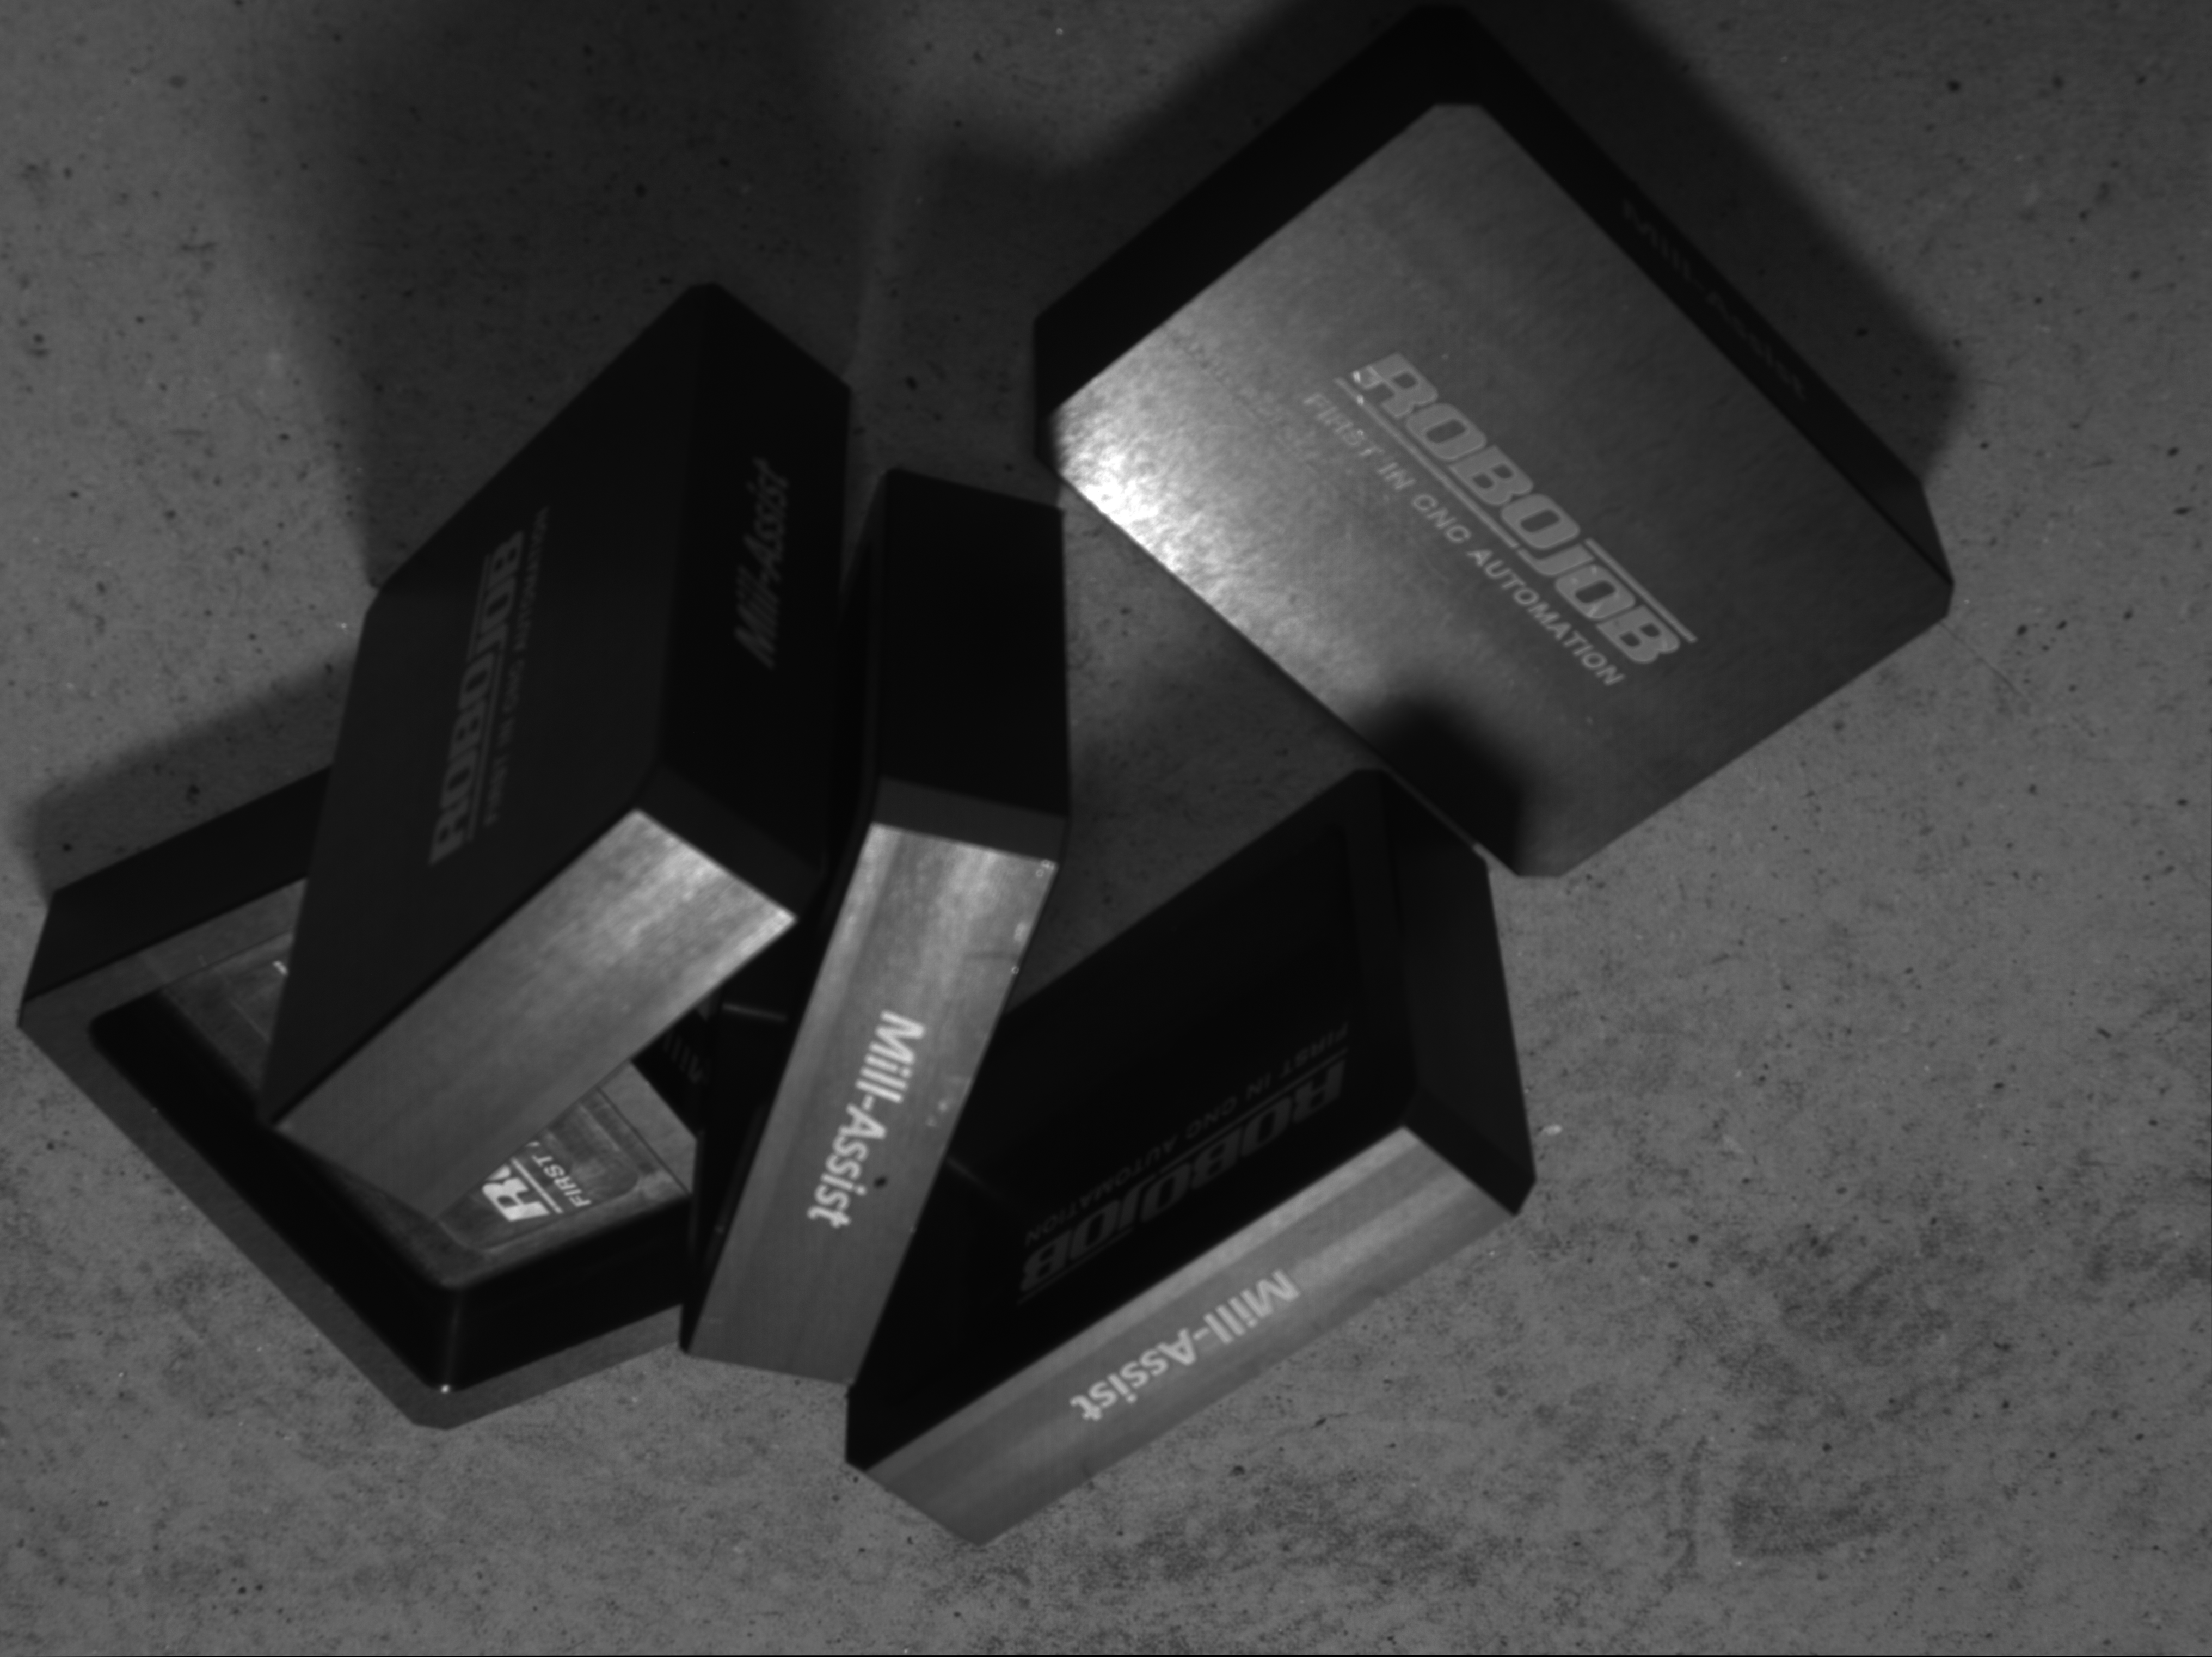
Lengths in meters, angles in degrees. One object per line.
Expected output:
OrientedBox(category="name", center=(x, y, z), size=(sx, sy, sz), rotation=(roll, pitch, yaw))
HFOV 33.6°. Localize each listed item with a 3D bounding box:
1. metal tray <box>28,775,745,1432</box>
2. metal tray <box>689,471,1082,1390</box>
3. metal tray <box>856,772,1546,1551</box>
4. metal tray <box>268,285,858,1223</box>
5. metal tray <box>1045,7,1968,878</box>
OrientedBox(category="metal tray", center=(-0.121, 0.050, 0.673), size=(0.090, 0.030, 0.130), rotation=(-23, 127, 16))
OrientedBox(category="metal tray", center=(-0.038, 0.018, 0.610), size=(0.030, 0.090, 0.130), rotation=(13, 128, -12))
OrientedBox(category="metal tray", center=(0.013, 0.058, 0.645), size=(0.130, 0.090, 0.030), rotation=(-36, 122, 25))
OrientedBox(category="metal tray", center=(-0.080, -0.014, 0.556), size=(0.030, 0.130, 0.090), rotation=(36, 120, -28))
OrientedBox(category="metal tray", center=(0.064, -0.058, 0.589), size=(0.090, 0.030, 0.130), rotation=(-36, 122, 25))
